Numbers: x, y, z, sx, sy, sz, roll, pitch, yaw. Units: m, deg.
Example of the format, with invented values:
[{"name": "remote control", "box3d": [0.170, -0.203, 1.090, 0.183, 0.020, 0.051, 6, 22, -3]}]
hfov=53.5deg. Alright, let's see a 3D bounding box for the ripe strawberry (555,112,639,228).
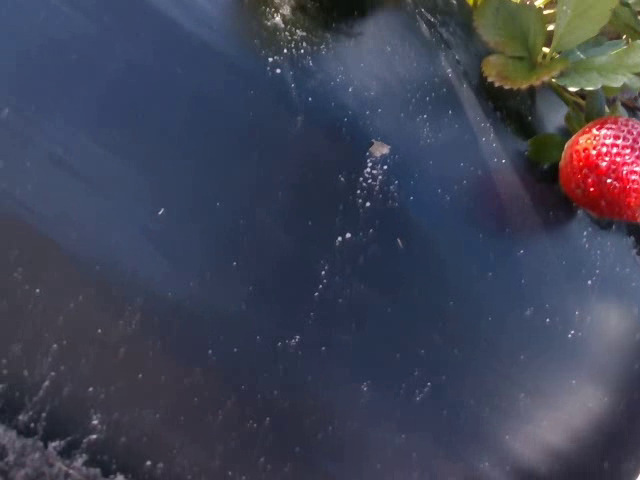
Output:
[{"name": "ripe strawberry", "box3d": [0.097, -0.020, 0.201, 0.041, 0.041, 0.047, 8, 32, -7]}]
